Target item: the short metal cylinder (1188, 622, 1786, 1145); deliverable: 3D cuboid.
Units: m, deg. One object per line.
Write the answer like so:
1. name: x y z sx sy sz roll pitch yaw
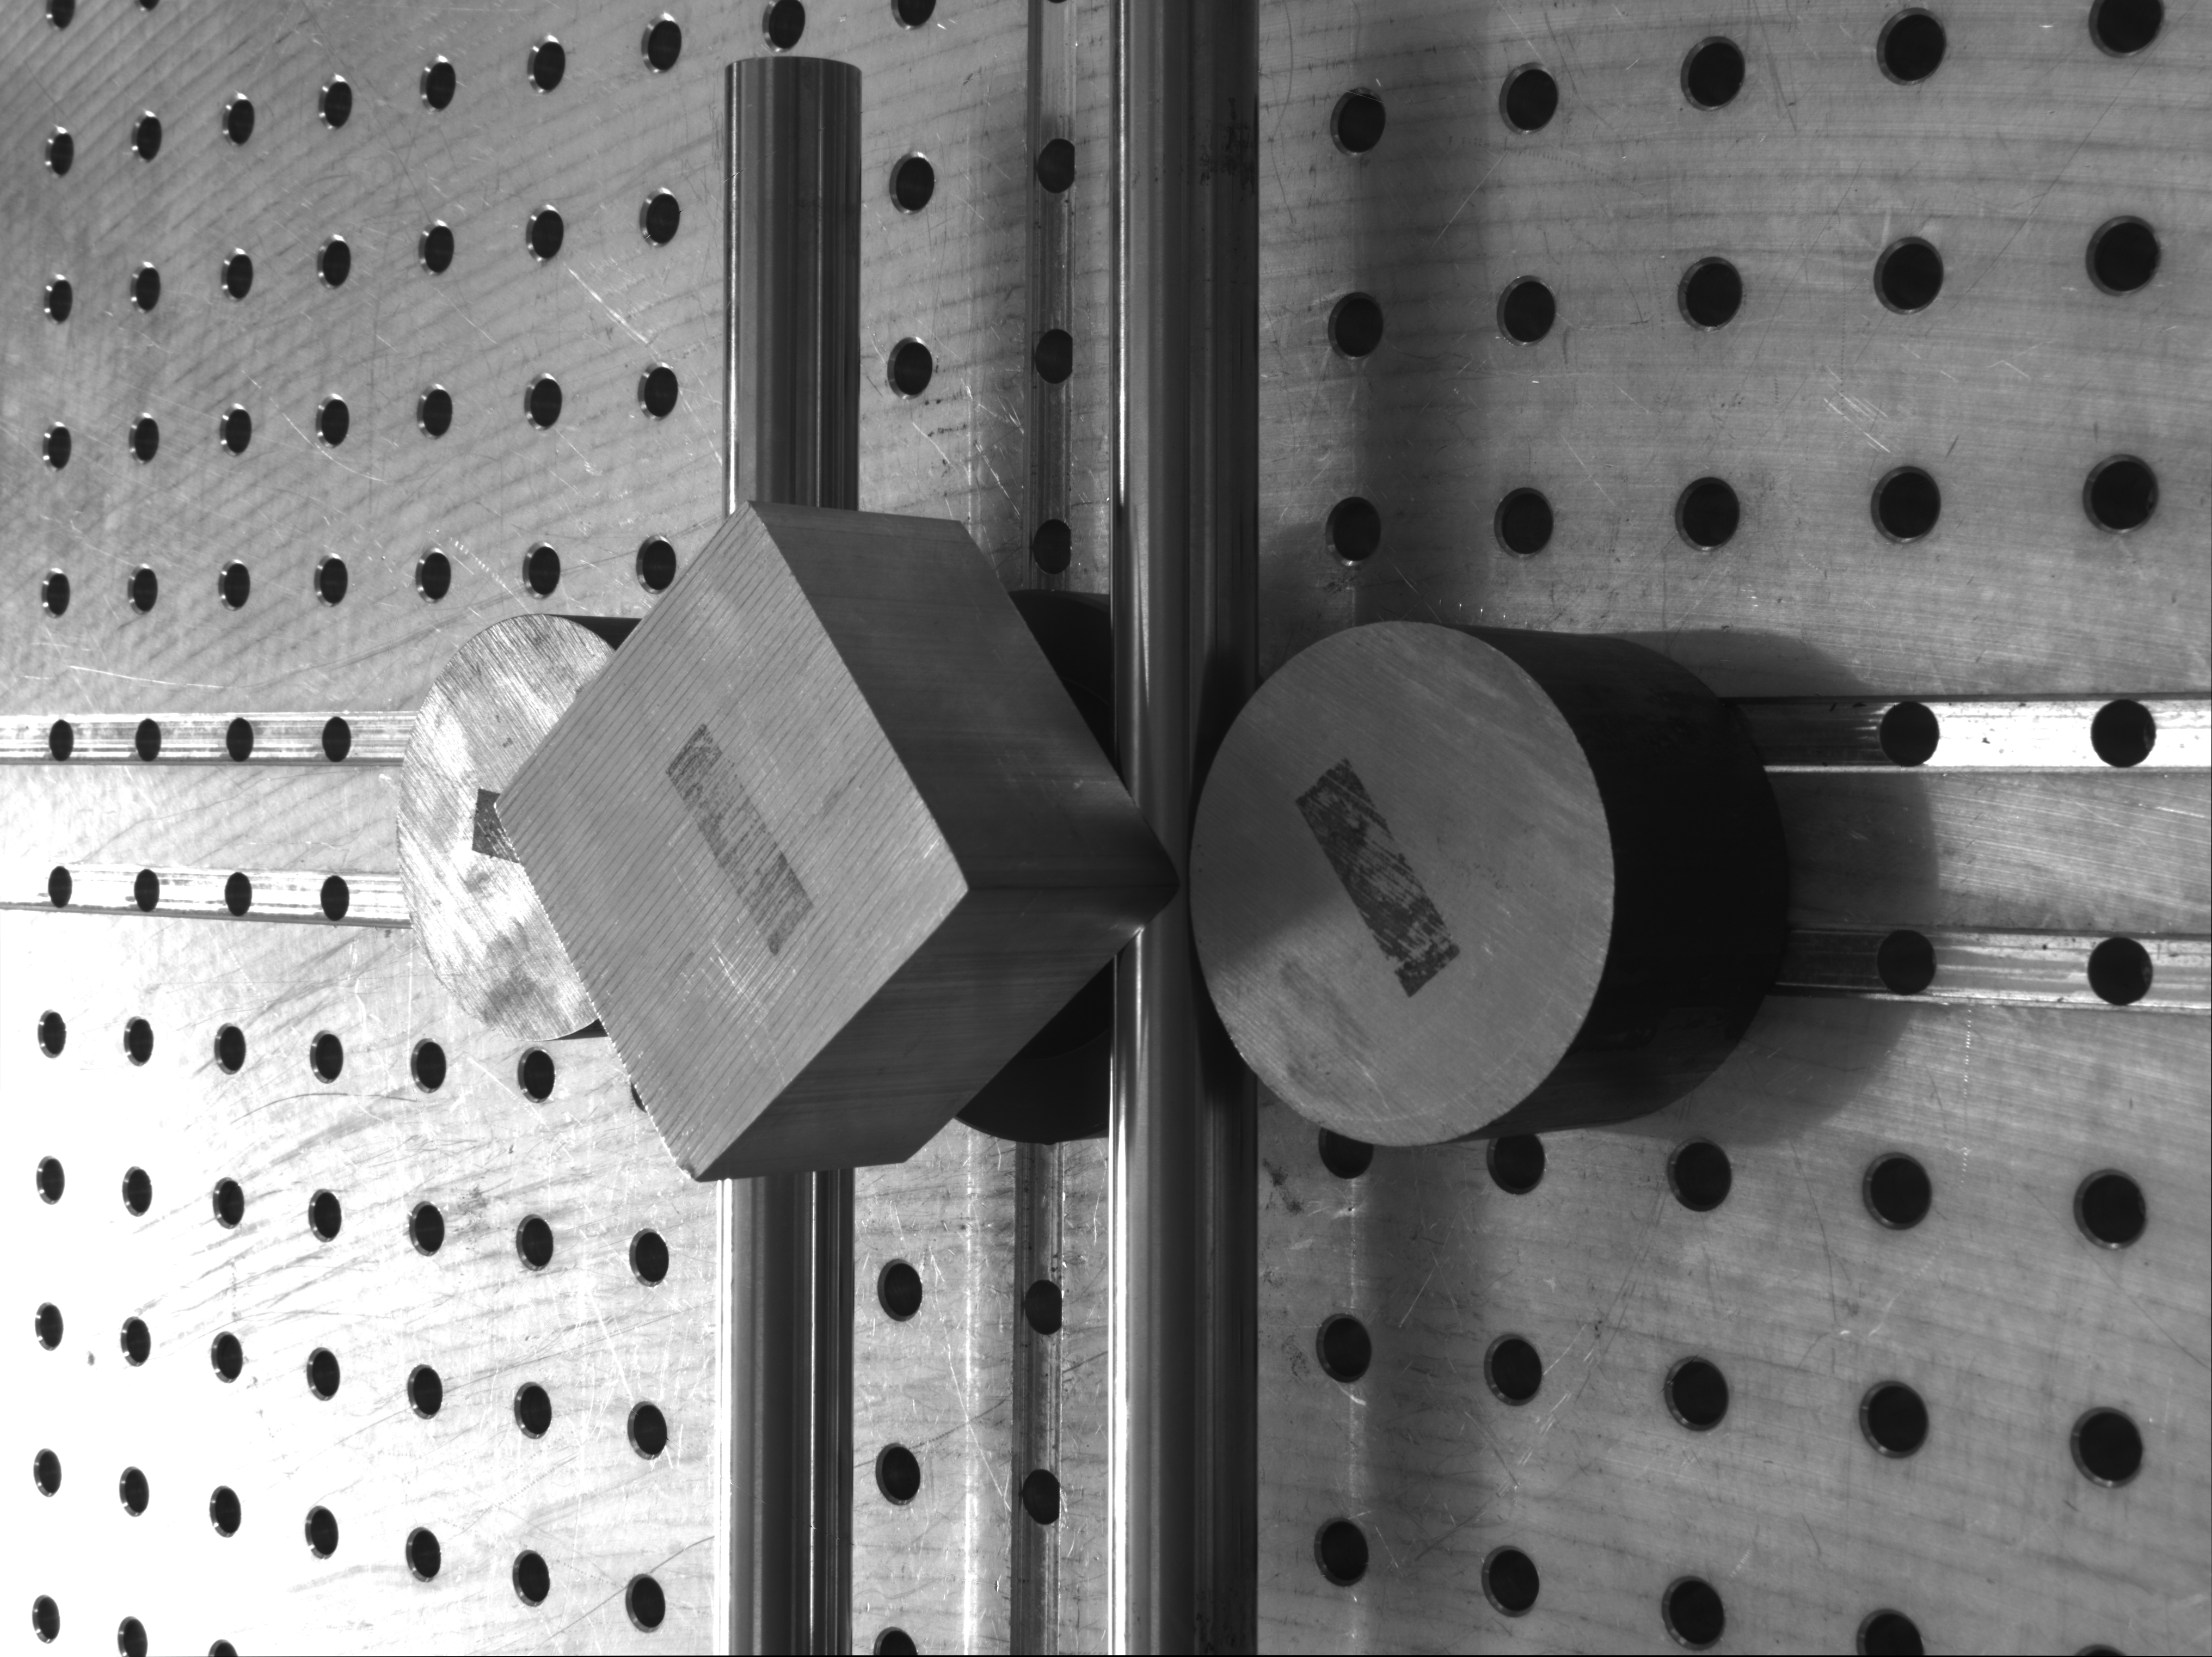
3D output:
1. short metal cylinder: 0.060 0.008 0.581 0.080 0.050 0.080 0 90 40

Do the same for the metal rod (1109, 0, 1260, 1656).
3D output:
1. metal rod: 0.013 0.010 0.610 0.025 0.025 0.300 0 90 40

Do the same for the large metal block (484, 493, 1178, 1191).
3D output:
1. large metal block: -0.047 0.003 0.610 0.080 0.050 0.080 -46 62 30

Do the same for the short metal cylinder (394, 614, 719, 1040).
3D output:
1. short metal cylinder: -0.092 0.000 0.710 0.080 0.050 0.080 0 90 40

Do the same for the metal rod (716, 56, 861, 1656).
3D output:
1. metal rod: -0.058 0.012 0.669 0.025 0.025 0.300 0 90 40

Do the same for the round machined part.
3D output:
1. round machined part: -0.014 0.006 0.650 0.098 0.042 0.098 0 90 40
